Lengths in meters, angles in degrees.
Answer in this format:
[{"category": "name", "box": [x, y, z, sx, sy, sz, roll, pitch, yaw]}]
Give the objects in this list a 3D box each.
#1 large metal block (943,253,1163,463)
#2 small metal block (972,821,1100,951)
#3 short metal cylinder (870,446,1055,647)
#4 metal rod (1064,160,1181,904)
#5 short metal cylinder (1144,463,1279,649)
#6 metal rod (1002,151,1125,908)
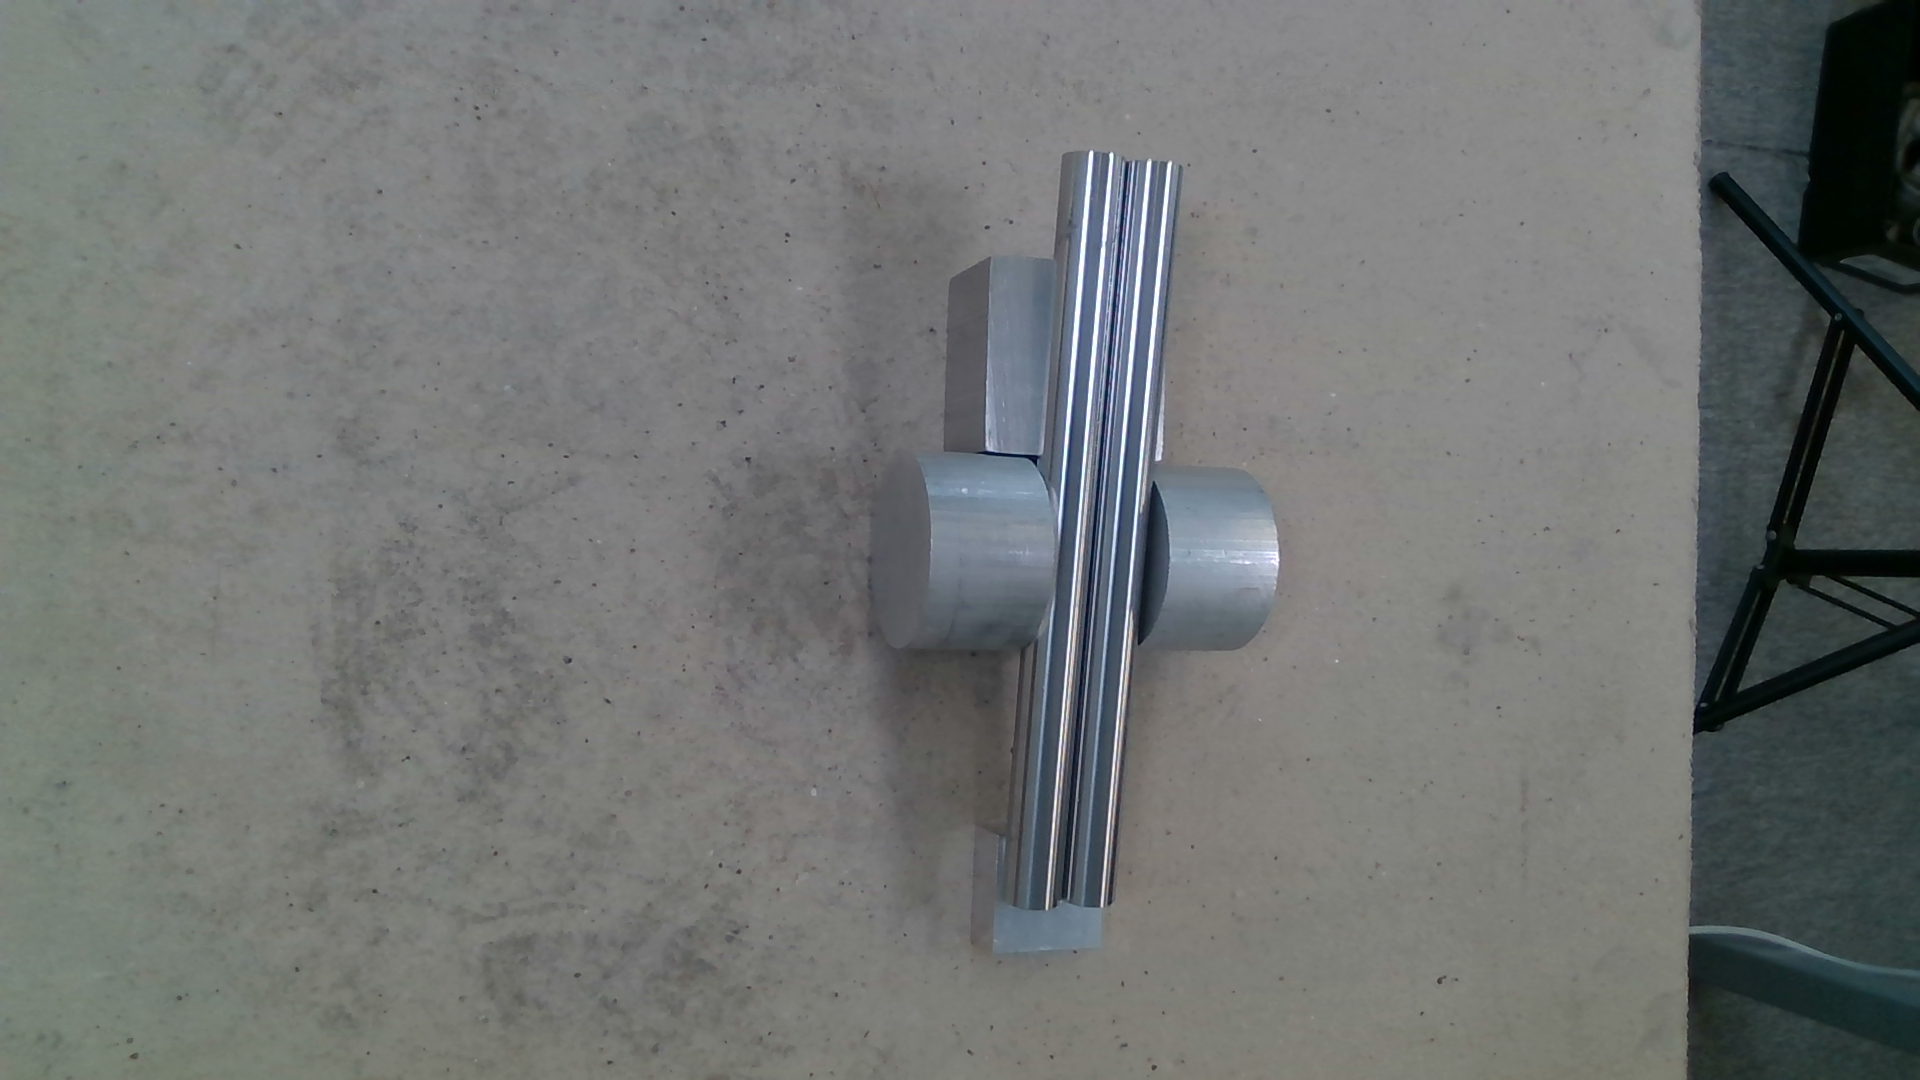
[{"category": "large metal block", "box": [0.040, -0.074, 0.588, 0.080, 0.050, 0.080, 2, 90, -20]}, {"category": "small metal block", "box": [0.033, 0.149, 0.600, 0.050, 0.025, 0.050, 3, 89, -20]}, {"category": "short metal cylinder", "box": [-0.001, 0.003, 0.557, 0.050, 0.080, 0.080, 1, 90, -20]}, {"category": "metal rod", "box": [0.064, 0.000, 0.563, 0.025, 0.025, 0.300, 2, 97, -20]}, {"category": "short metal cylinder", "box": [0.093, 0.007, 0.592, 0.050, 0.080, 0.080, 1, 90, -20]}, {"category": "metal rod", "box": [0.041, 0.000, 0.554, 0.025, 0.025, 0.300, 2, 97, -20]}]
